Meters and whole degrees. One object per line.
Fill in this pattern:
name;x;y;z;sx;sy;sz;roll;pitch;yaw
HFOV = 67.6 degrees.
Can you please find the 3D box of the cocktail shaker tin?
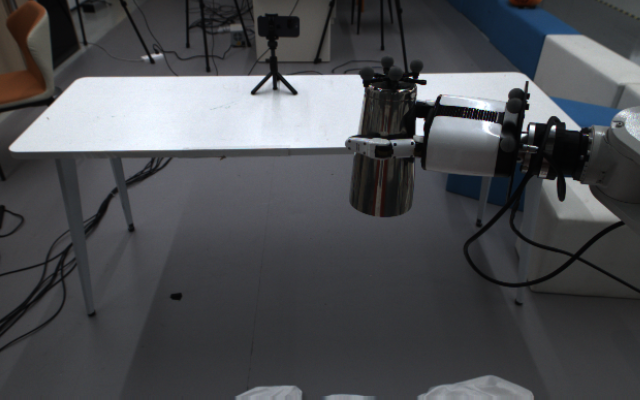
cocktail shaker tin;0.091;-0.074;0.656;0.093;0.170;0.093;1;30;0
